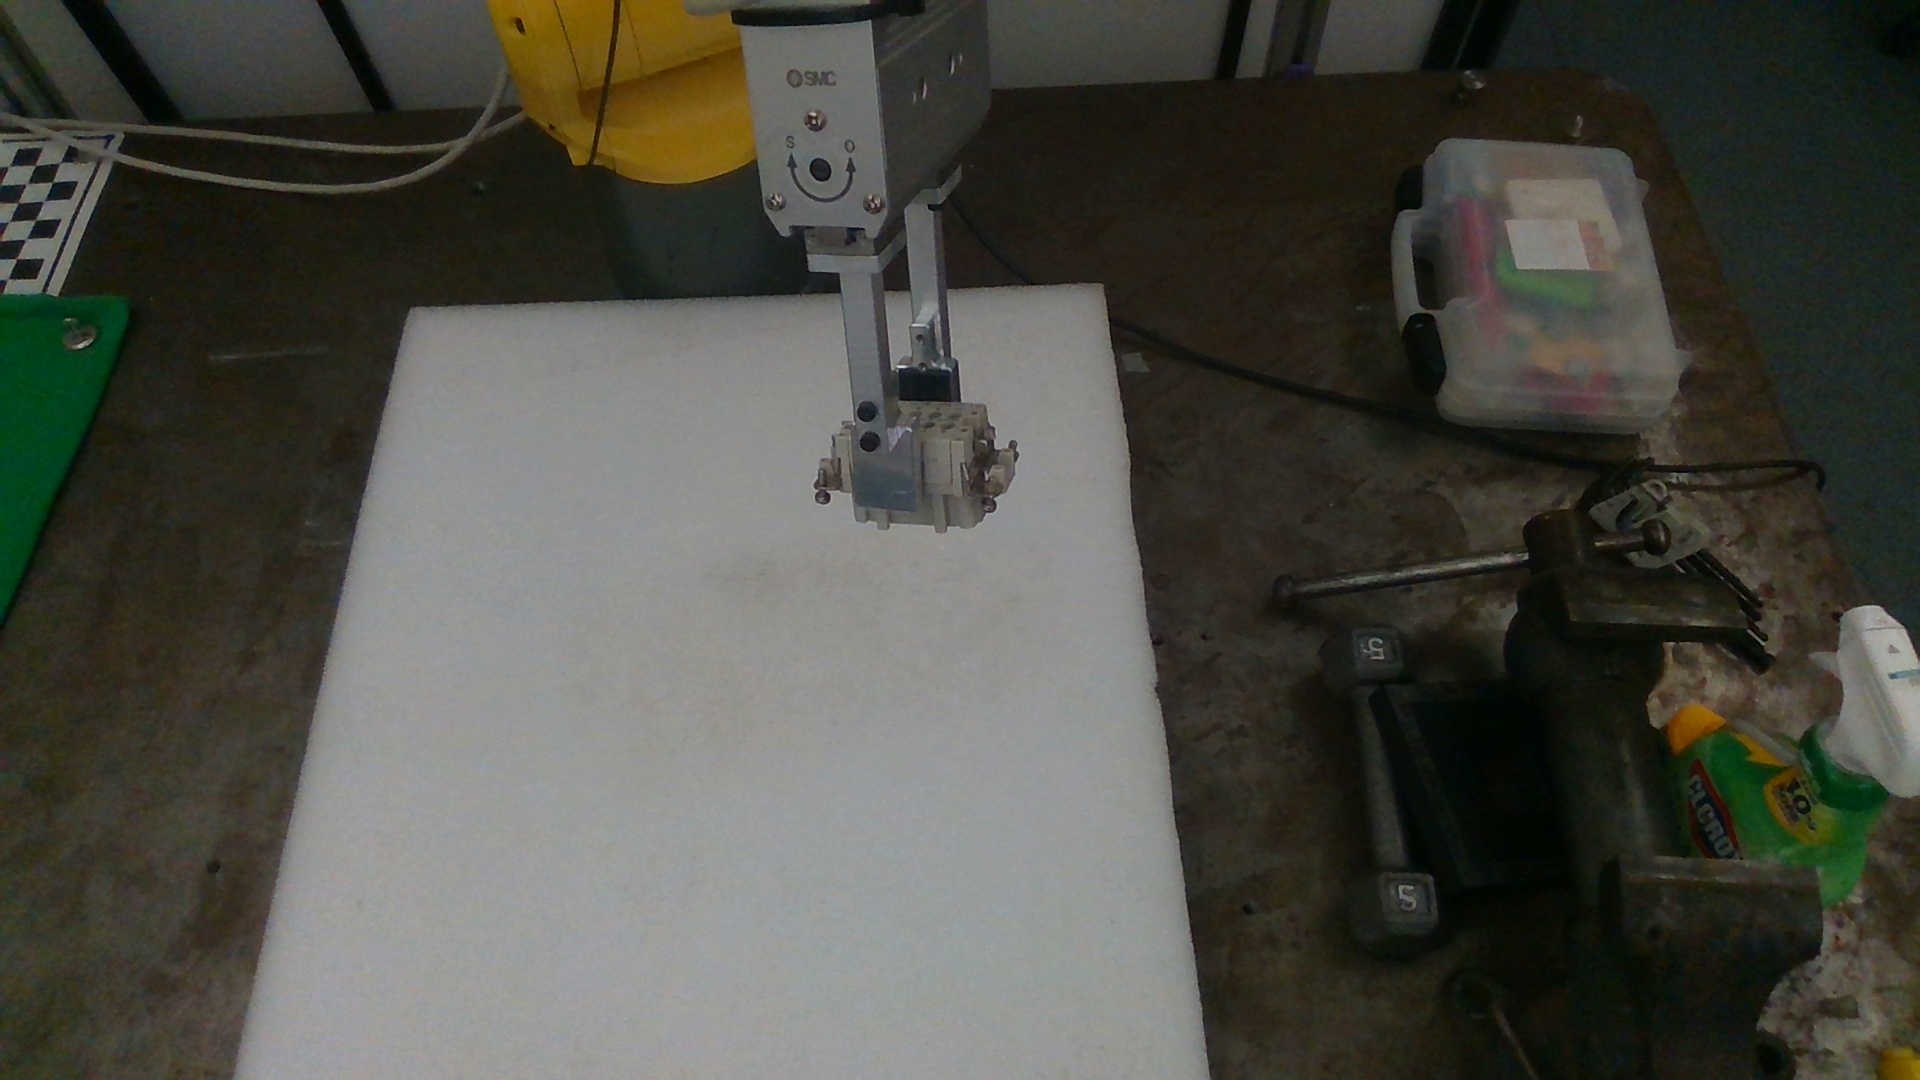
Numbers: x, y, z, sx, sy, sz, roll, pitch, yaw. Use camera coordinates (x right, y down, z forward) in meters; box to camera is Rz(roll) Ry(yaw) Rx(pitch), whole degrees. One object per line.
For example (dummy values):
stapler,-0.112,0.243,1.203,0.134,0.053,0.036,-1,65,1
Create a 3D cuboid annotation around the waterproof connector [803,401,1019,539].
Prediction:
waterproof connector,-0.016,-0.023,0.461,0.069,0.038,0.036,0,25,14
